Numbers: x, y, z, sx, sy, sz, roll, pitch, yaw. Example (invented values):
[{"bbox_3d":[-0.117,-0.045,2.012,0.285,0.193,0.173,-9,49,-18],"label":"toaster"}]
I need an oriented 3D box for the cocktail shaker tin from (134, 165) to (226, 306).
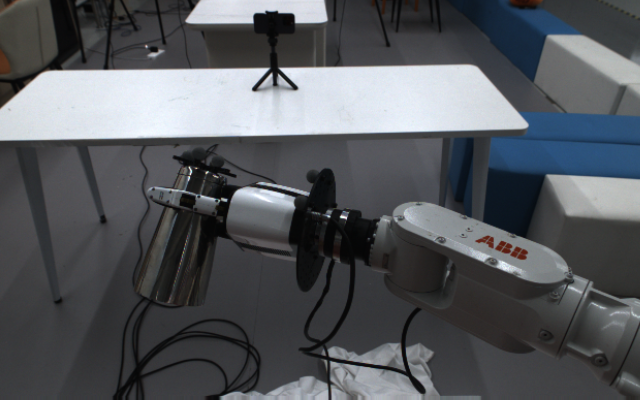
[{"bbox_3d":[-0.176,0.044,0.645,0.093,0.170,0.093,15,-5,1],"label":"cocktail shaker tin"}]
